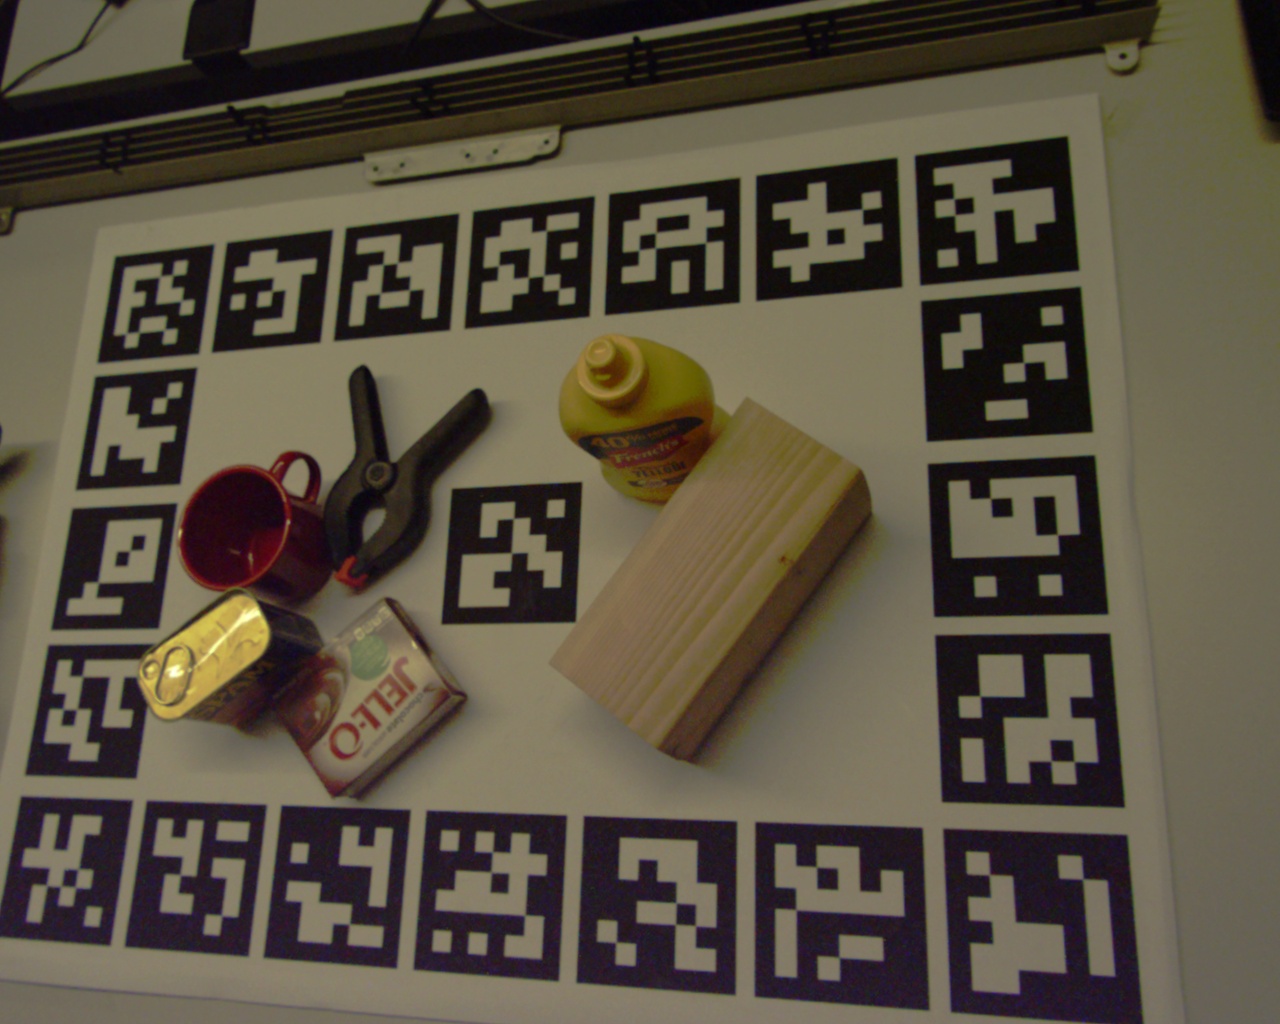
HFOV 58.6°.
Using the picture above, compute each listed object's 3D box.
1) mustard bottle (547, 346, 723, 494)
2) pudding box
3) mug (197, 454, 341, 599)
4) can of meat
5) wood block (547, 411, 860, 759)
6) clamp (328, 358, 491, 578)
[{"bbox_3d":[-0.007,-0.062,0.741,0.097,0.190,0.058,-8,74,14],"label":"mustard bottle"},{"bbox_3d":[-0.193,0.133,0.827,0.114,0.038,0.091,-41,69,1],"label":"pudding box"},{"bbox_3d":[-0.275,0.012,0.885,0.094,0.081,0.117,20,83,20],"label":"mug"},{"bbox_3d":[-0.295,0.110,0.834,0.102,0.083,0.058,-33,70,6],"label":"can of meat"},{"bbox_3d":[0.045,0.050,0.754,0.091,0.090,0.206,36,86,23],"label":"wood block"},{"bbox_3d":[-0.193,-0.030,0.877,0.123,0.036,0.165,17,83,18],"label":"clamp"}]
